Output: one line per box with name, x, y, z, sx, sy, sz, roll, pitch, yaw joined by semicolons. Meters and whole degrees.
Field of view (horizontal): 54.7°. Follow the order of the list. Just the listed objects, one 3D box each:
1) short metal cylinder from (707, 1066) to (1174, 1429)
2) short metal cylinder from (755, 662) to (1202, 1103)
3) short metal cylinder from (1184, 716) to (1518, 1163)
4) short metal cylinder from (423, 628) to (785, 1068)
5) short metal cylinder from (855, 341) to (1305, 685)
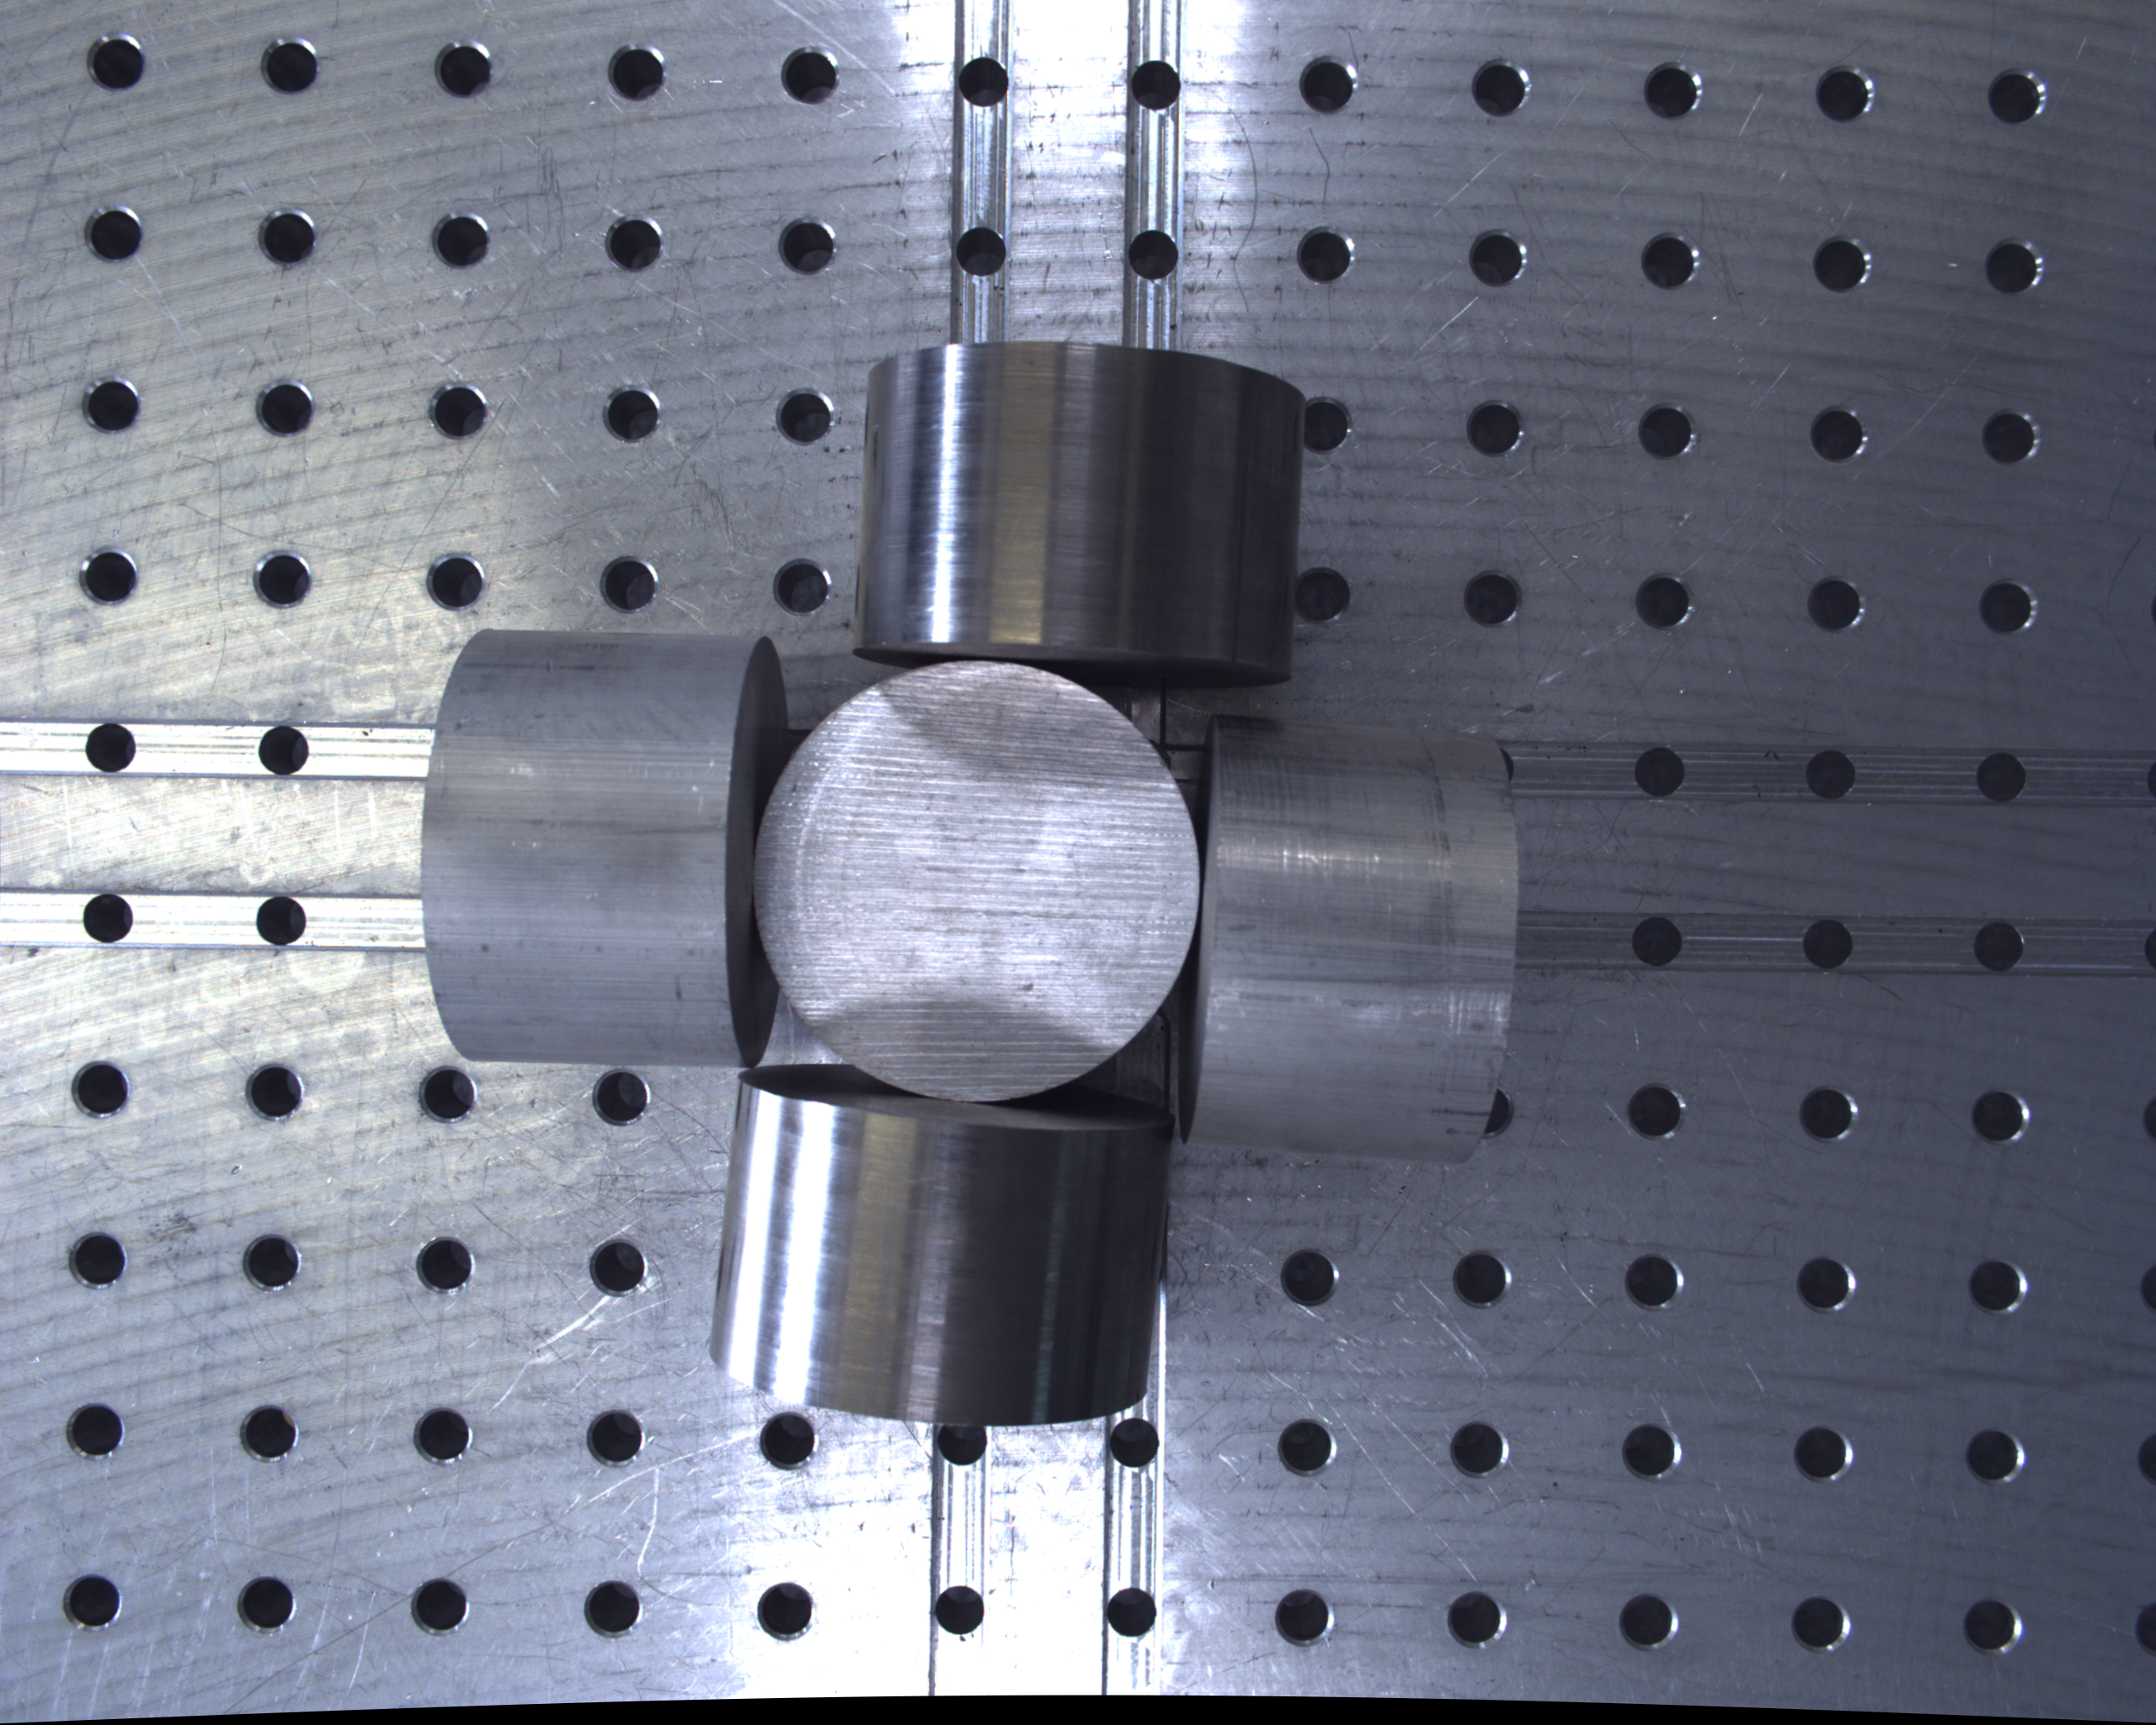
short metal cylinder;-0.025;0.068;0.384;0.080;0.080;0.050;6;90;0
short metal cylinder;-0.018;0.004;0.401;0.081;0.050;0.080;0;90;-2
short metal cylinder;0.047;0.014;0.386;0.050;0.080;0.080;4;90;0
short metal cylinder;-0.084;-0.003;0.385;0.050;0.080;0.079;2;90;-1
short metal cylinder;0.000;-0.061;0.385;0.081;0.080;0.050;3;90;0
